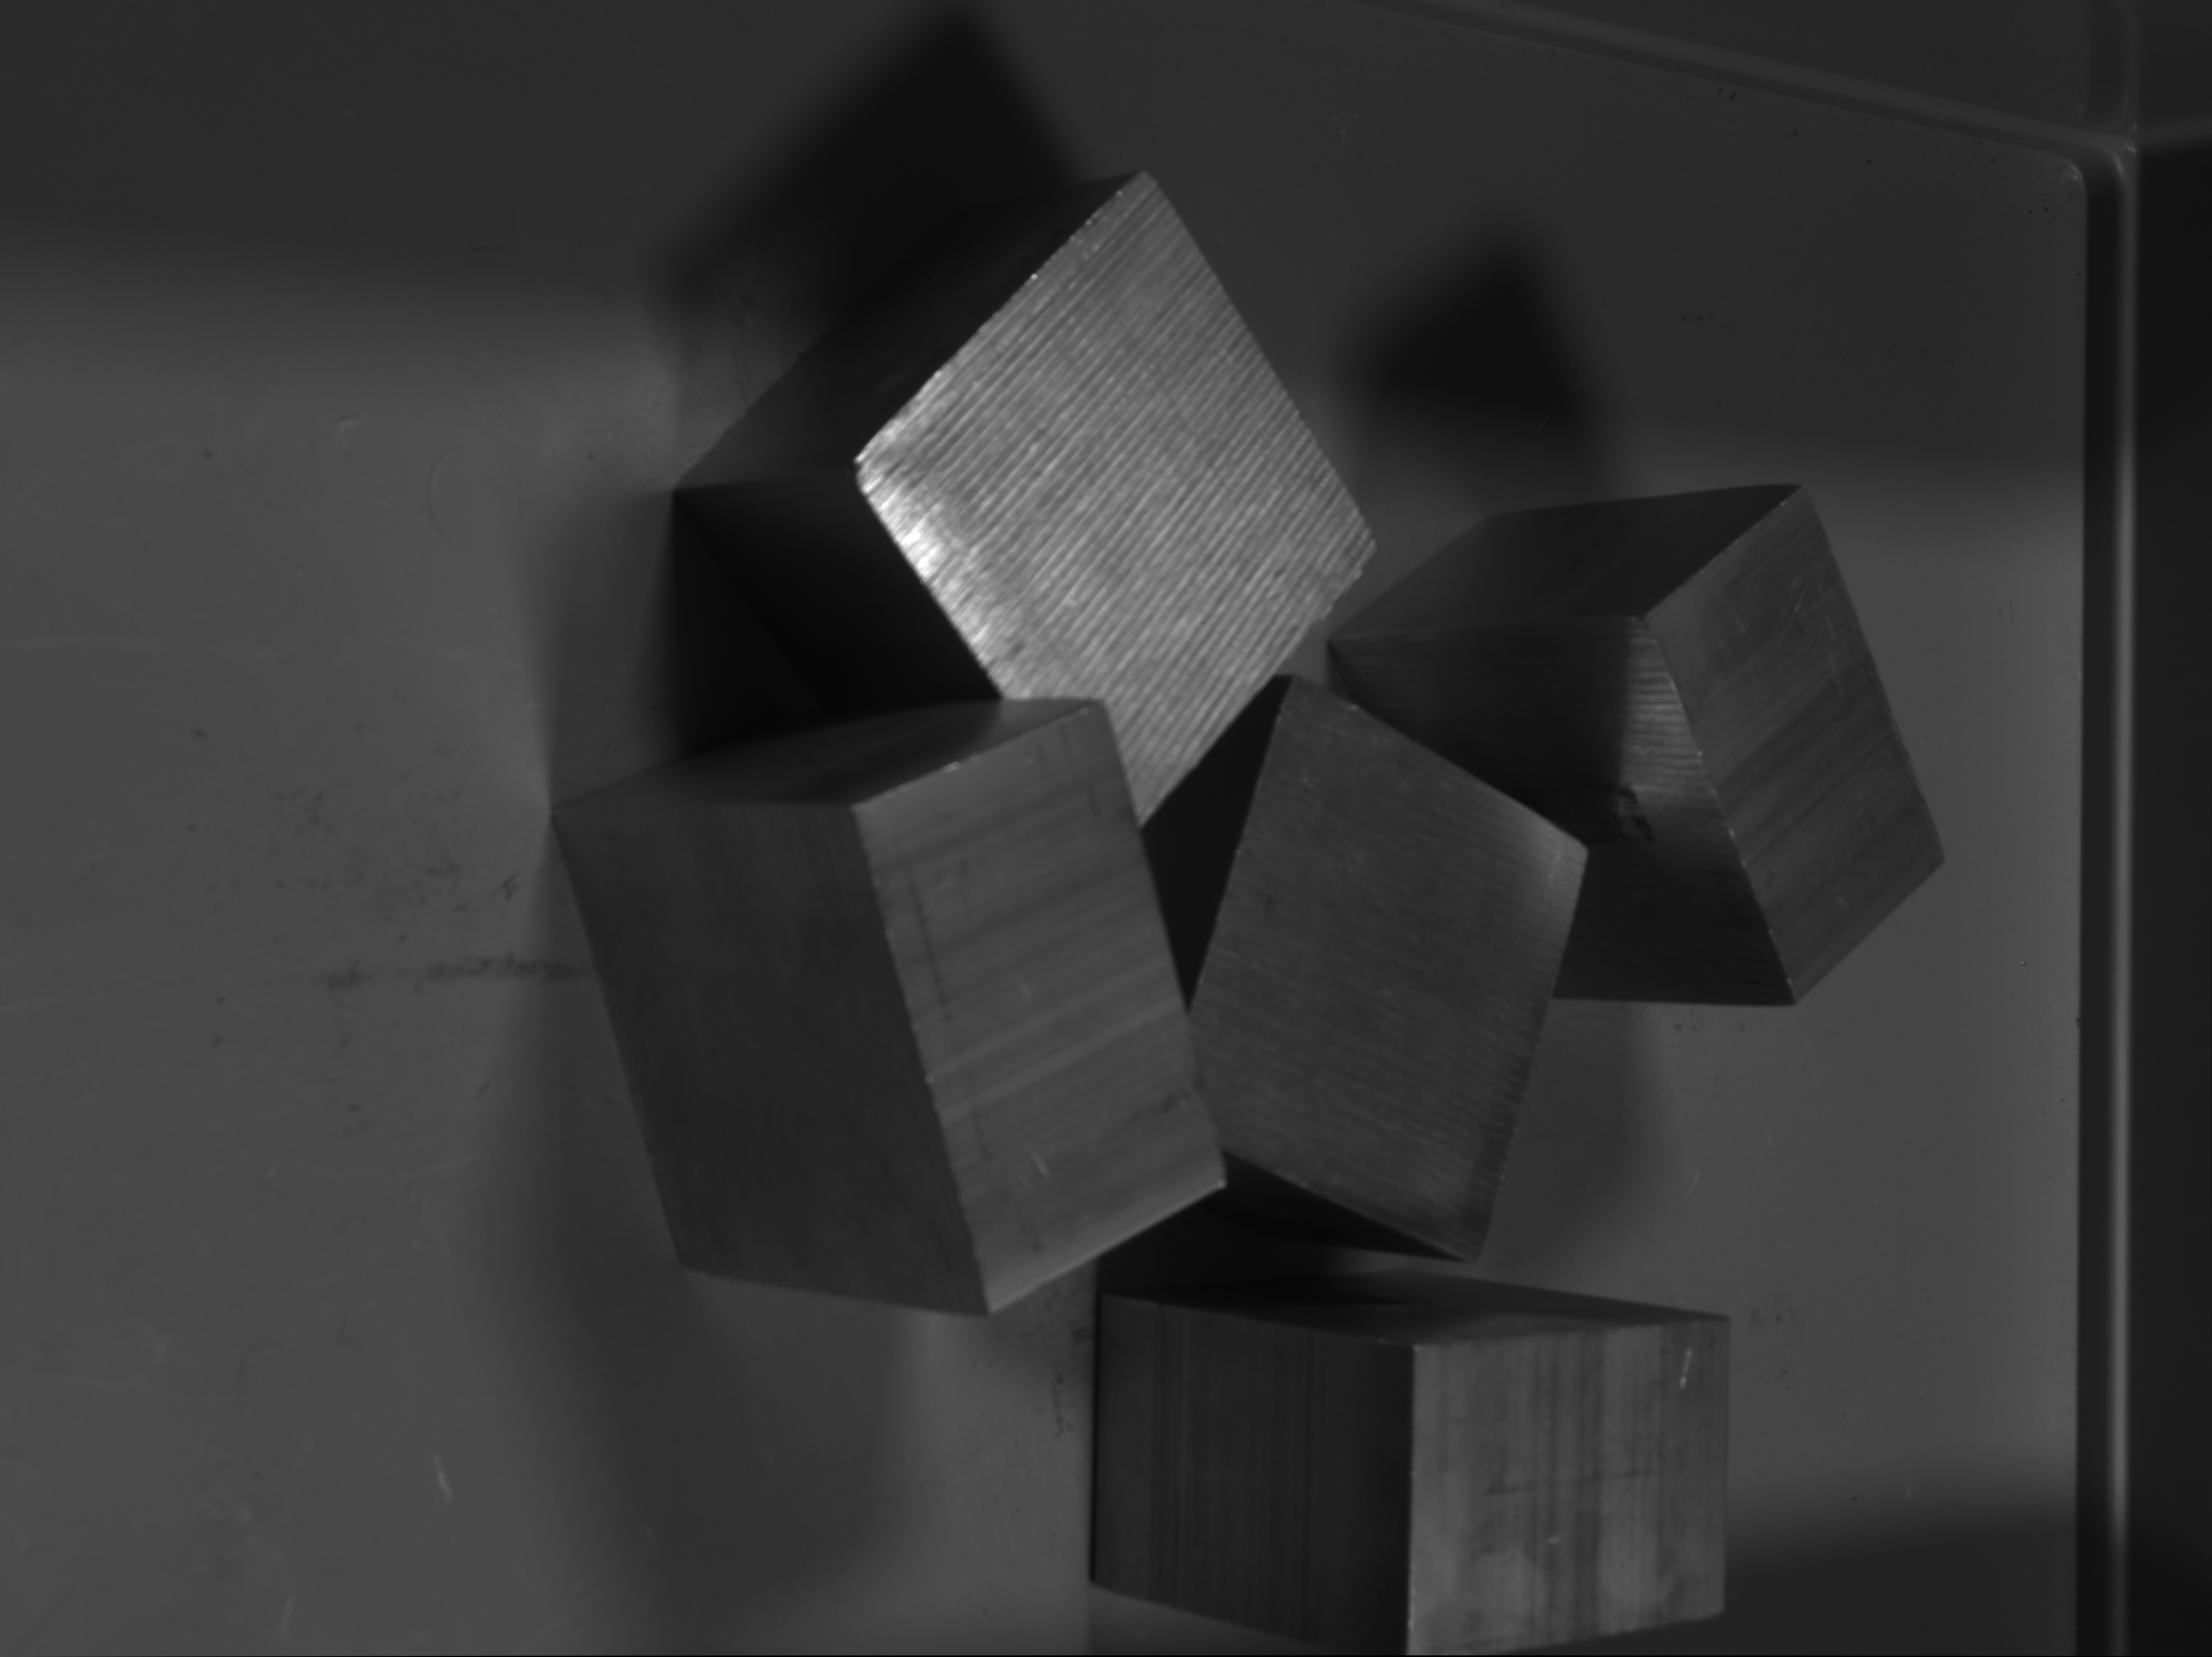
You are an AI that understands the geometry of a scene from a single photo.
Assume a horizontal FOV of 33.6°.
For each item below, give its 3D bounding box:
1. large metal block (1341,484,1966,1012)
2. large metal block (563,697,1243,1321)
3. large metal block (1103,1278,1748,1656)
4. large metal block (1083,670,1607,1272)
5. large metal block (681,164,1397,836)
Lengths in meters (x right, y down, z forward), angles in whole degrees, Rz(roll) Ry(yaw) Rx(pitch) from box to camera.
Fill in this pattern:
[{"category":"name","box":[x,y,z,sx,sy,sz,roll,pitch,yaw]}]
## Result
[{"category":"large metal block","box":[0.102,-0.014,0.685,0.050,0.080,0.080,-38,113,-33]},{"category":"large metal block","box":[-0.032,0.026,0.573,0.050,0.080,0.080,-24,105,-37]},{"category":"large metal block","box":[0.056,0.110,0.648,0.080,0.080,0.050,1,89,-40]},{"category":"large metal block","box":[0.034,0.026,0.649,0.080,0.050,0.080,28,72,-36]},{"category":"large metal block","box":[-0.010,-0.051,0.611,0.080,0.050,0.080,-50,119,-28]}]
